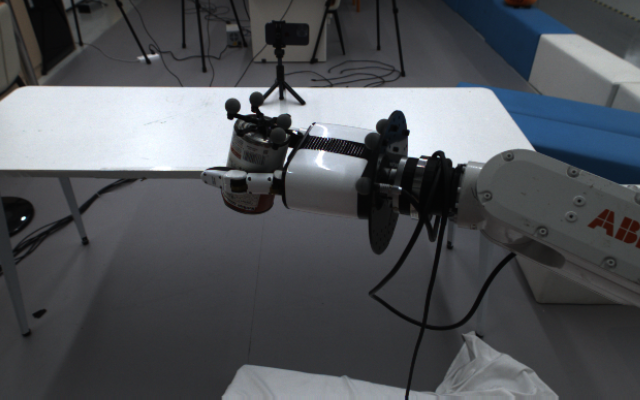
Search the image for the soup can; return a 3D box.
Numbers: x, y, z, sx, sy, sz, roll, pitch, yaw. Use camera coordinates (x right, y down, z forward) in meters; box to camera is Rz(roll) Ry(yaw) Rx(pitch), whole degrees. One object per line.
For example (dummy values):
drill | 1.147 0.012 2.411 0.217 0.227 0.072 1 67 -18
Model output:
soup can | -0.077 -0.042 0.582 0.067 0.101 0.067 13 35 -9
